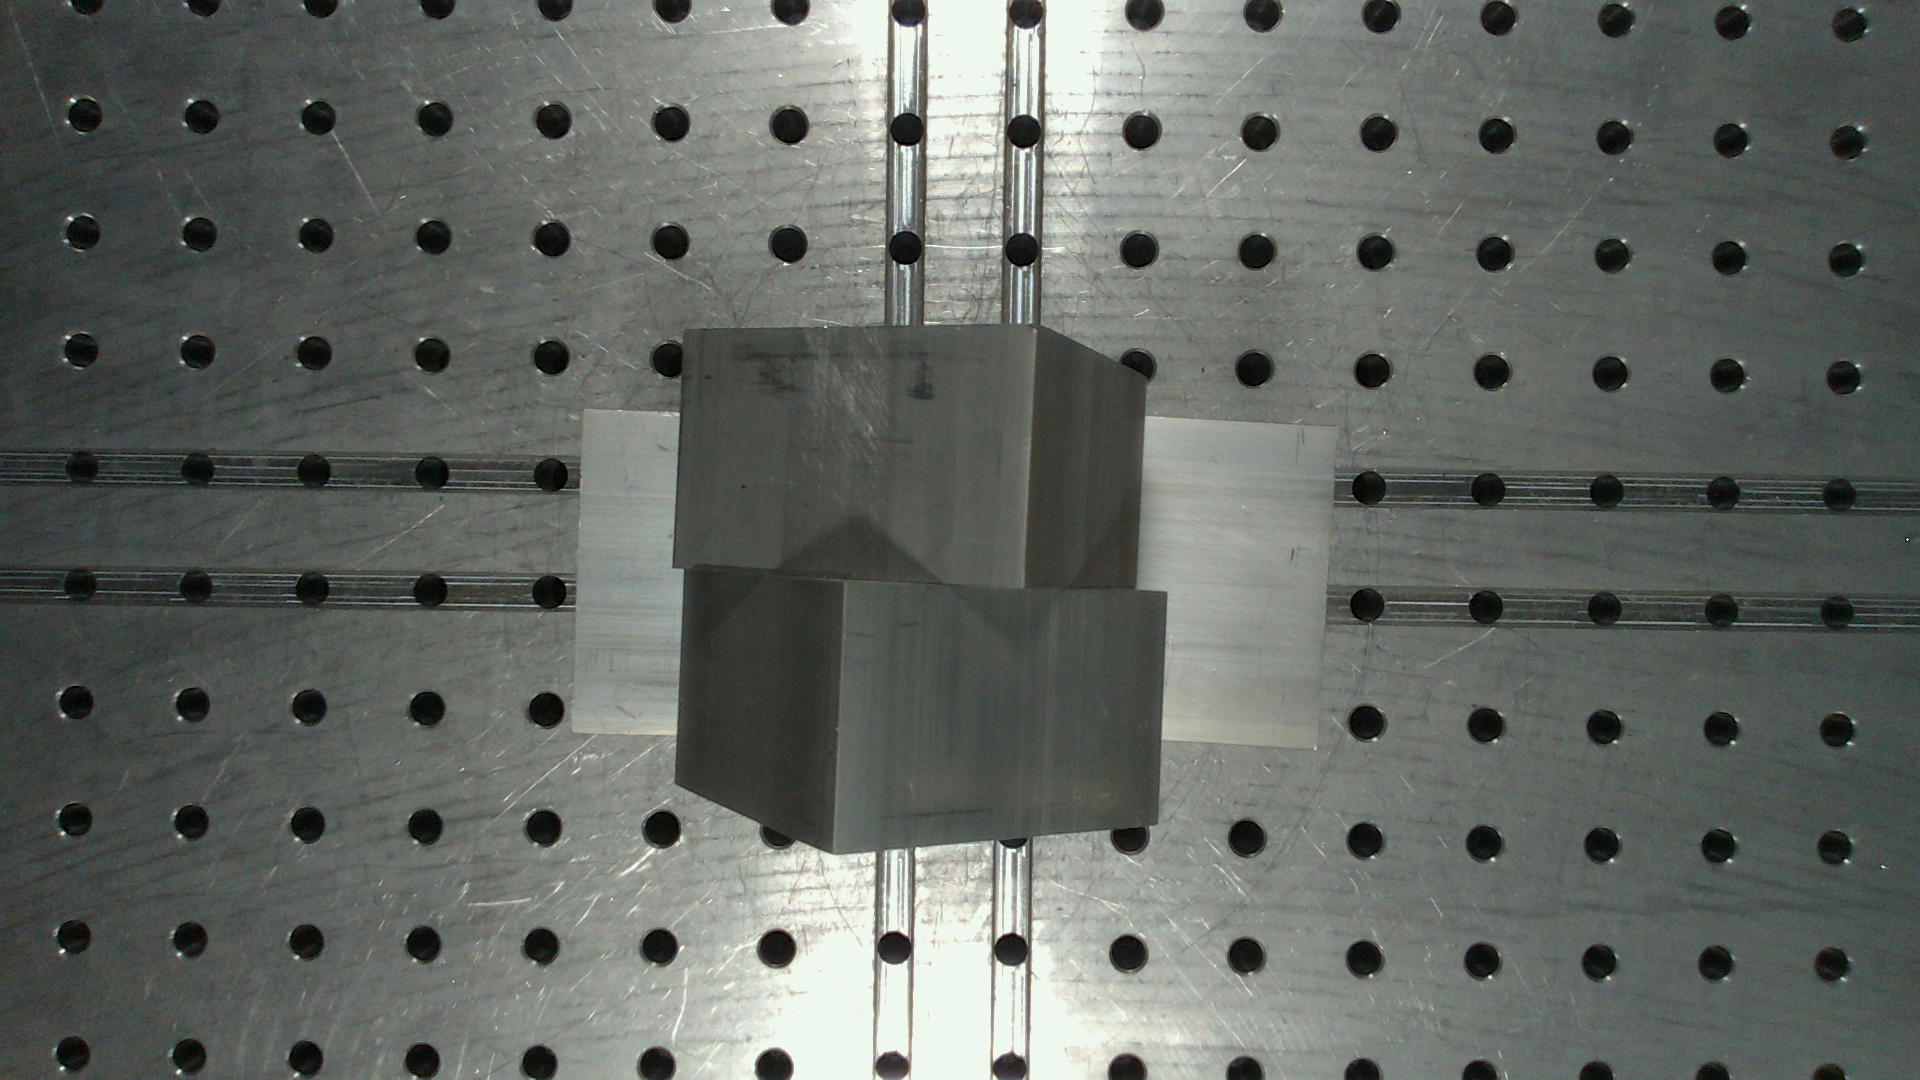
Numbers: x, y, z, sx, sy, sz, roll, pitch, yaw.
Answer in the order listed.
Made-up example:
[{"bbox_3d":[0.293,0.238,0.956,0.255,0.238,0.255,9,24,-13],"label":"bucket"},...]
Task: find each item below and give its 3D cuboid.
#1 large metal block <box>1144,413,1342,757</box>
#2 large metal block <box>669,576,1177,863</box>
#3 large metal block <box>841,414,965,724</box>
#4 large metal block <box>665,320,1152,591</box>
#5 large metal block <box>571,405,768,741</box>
[{"bbox_3d":[0.064,0.010,0.370,0.050,0.080,0.080,4,90,0],"label":"large metal block"},{"bbox_3d":[-0.010,0.034,0.303,0.080,0.080,0.050,3,90,-33],"label":"large metal block"},{"bbox_3d":[0.000,0.008,0.383,0.080,0.050,0.080,3,90,0],"label":"large metal block"},{"bbox_3d":[-0.008,-0.016,0.306,0.080,0.080,0.050,3,90,23],"label":"large metal block"},{"bbox_3d":[-0.067,0.008,0.370,0.050,0.080,0.080,2,90,0],"label":"large metal block"}]
